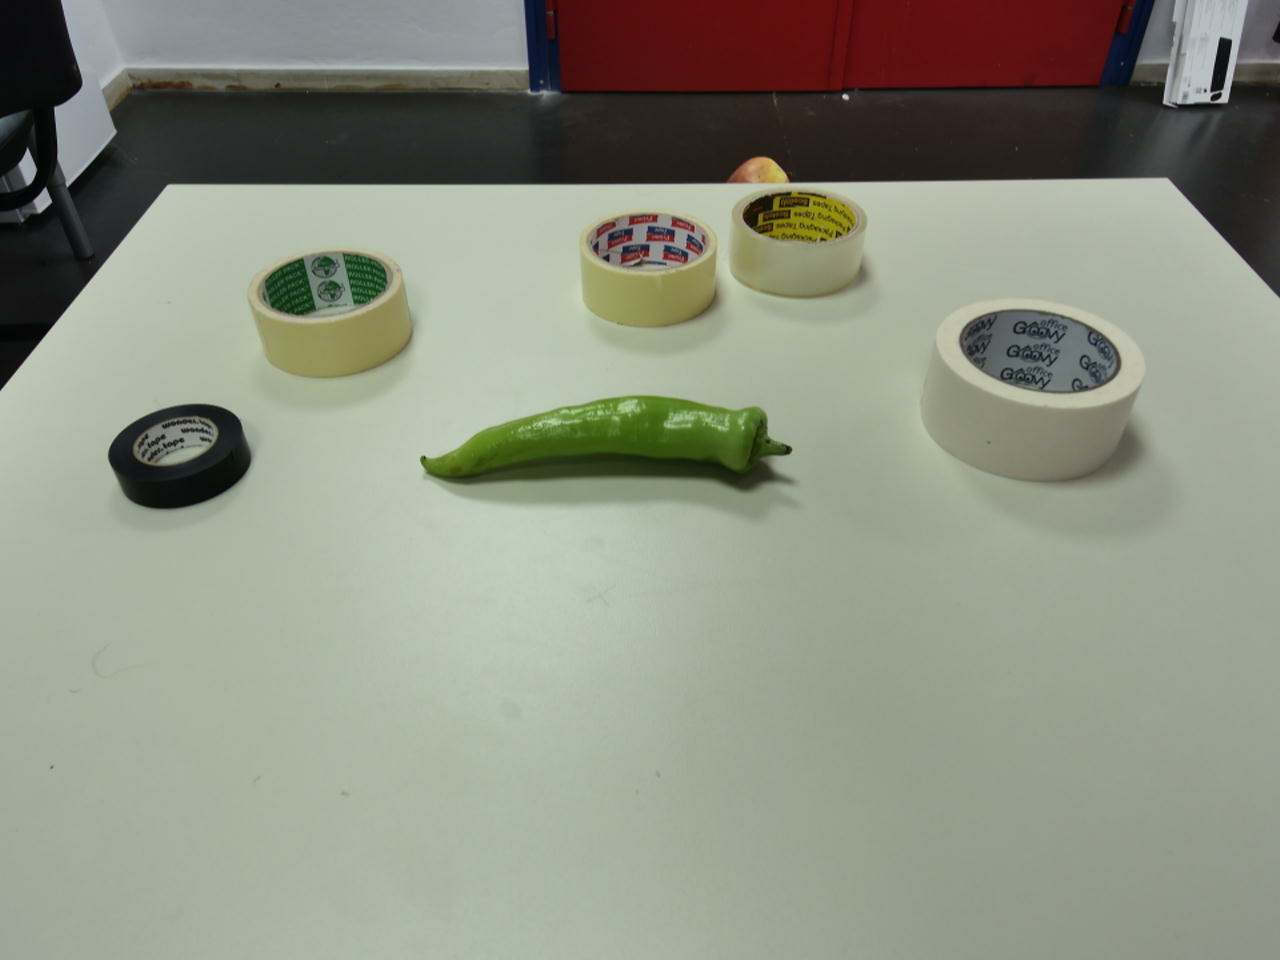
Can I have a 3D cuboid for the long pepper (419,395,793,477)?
[{"bbox_3d":[-0.019,-0.024,0.531,0.197,0.038,0.046,1,39,2],"label":"long pepper"}]
